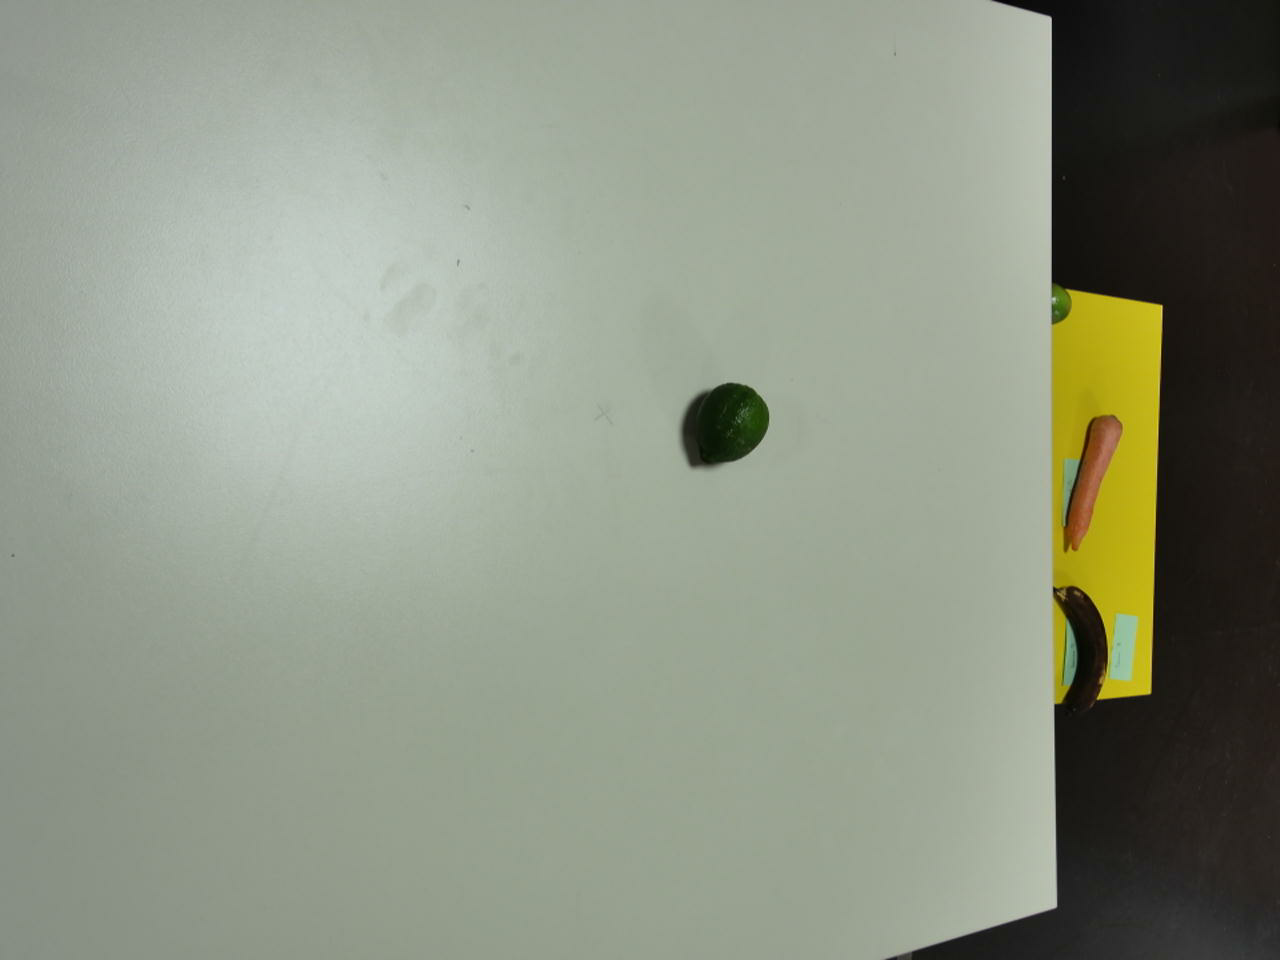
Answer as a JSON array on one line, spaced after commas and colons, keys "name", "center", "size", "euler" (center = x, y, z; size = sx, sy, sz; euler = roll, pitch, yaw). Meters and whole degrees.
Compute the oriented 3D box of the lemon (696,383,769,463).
[{"name": "lemon", "center": [0.068, -0.042, 0.728], "size": [0.054, 0.051, 0.057], "euler": [-6, 93, -28]}]
